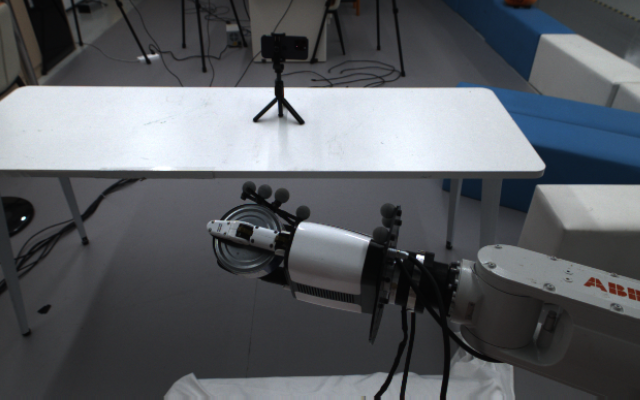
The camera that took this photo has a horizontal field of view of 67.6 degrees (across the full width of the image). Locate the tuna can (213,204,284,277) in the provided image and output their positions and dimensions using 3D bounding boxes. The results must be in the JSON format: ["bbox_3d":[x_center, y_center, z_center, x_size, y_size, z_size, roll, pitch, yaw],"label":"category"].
[{"bbox_3d":[-0.080,0.049,0.580,0.085,0.034,0.085,-4,67,10],"label":"tuna can"}]
